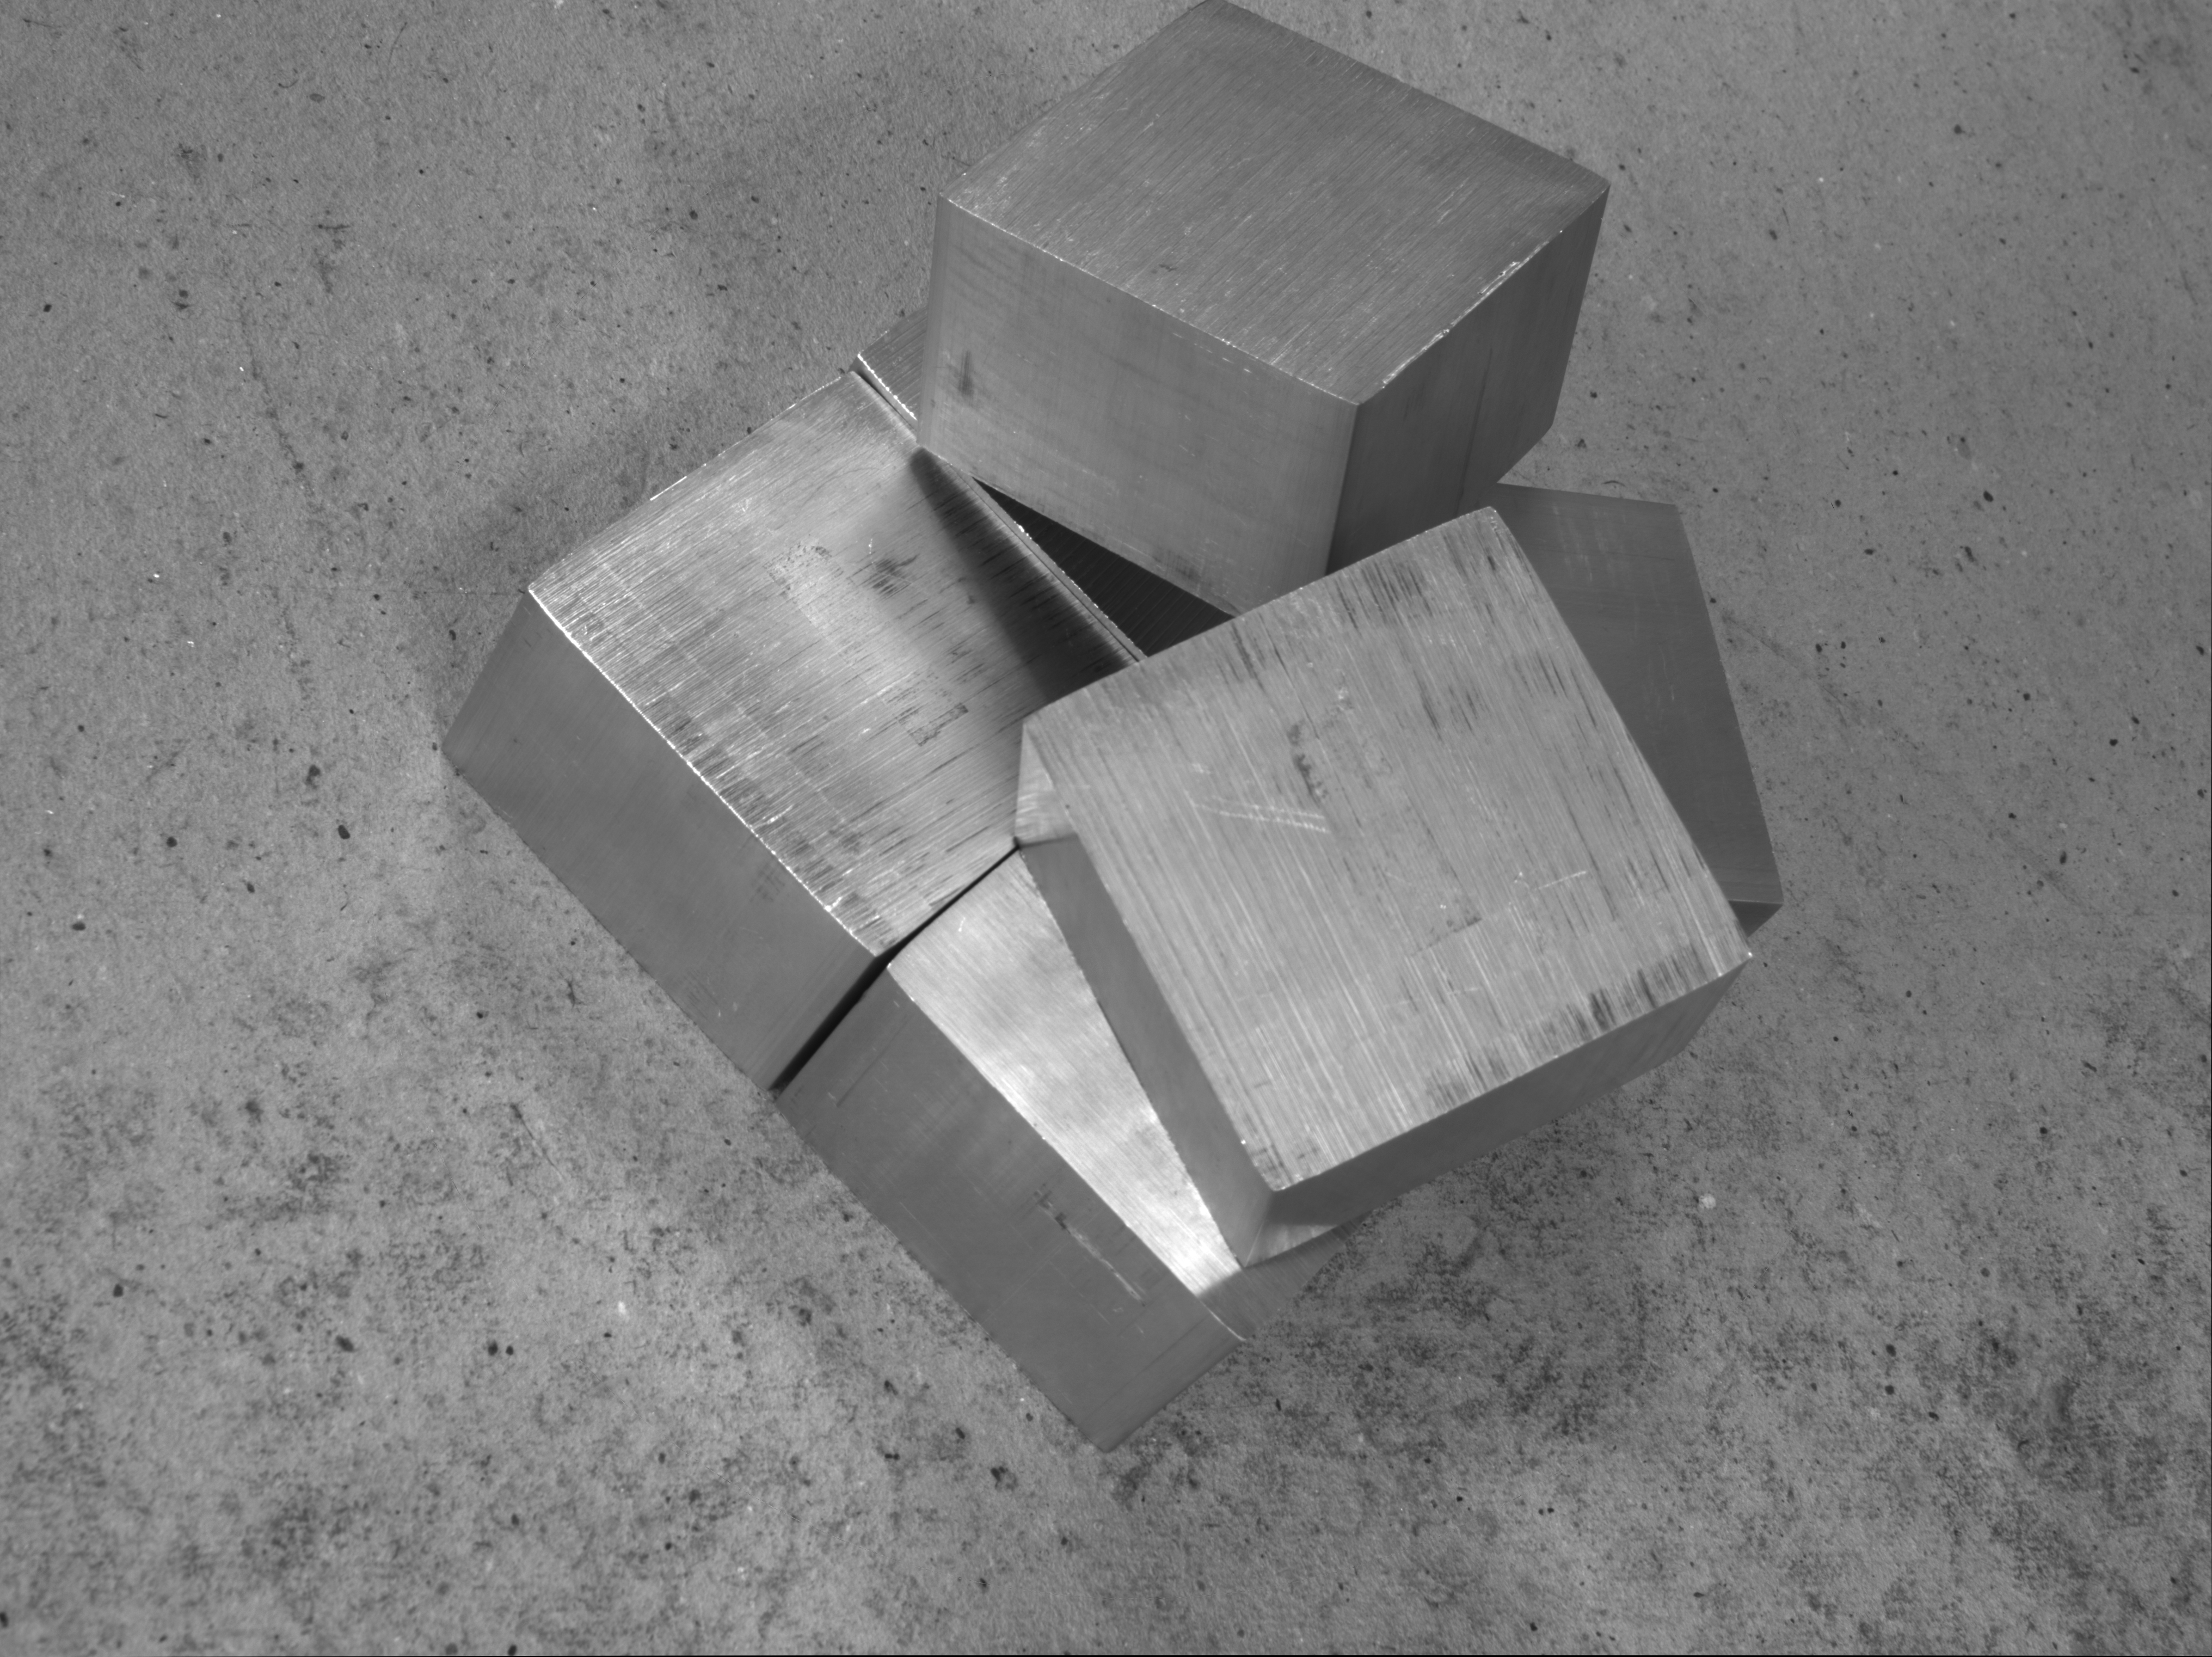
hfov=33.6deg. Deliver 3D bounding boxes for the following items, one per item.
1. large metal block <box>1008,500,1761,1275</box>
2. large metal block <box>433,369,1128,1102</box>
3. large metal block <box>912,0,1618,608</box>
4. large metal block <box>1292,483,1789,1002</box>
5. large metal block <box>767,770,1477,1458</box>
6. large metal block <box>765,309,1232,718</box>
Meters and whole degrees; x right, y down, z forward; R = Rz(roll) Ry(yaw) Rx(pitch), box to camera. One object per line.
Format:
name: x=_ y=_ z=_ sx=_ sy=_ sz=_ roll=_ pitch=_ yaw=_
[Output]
large metal block: x=0.039 y=0.009 z=0.555 sx=0.080 sy=0.050 sz=0.080 roll=-25 pitch=74 yaw=-11
large metal block: x=-0.049 y=-0.016 z=0.607 sx=0.080 sy=0.050 sz=0.080 roll=46 pitch=51 yaw=4
large metal block: x=0.026 y=-0.085 z=0.604 sx=0.080 sy=0.050 sz=0.080 roll=29 pitch=47 yaw=20
large metal block: x=0.067 y=-0.004 z=0.643 sx=0.050 sy=0.080 sz=0.080 roll=4 pitch=60 yaw=-26
large metal block: x=0.006 y=0.041 z=0.603 sx=0.080 sy=0.050 sz=0.080 roll=46 pitch=51 yaw=4
large metal block: x=-0.002 y=-0.059 z=0.656 sx=0.080 sy=0.050 sz=0.080 roll=46 pitch=50 yaw=4
